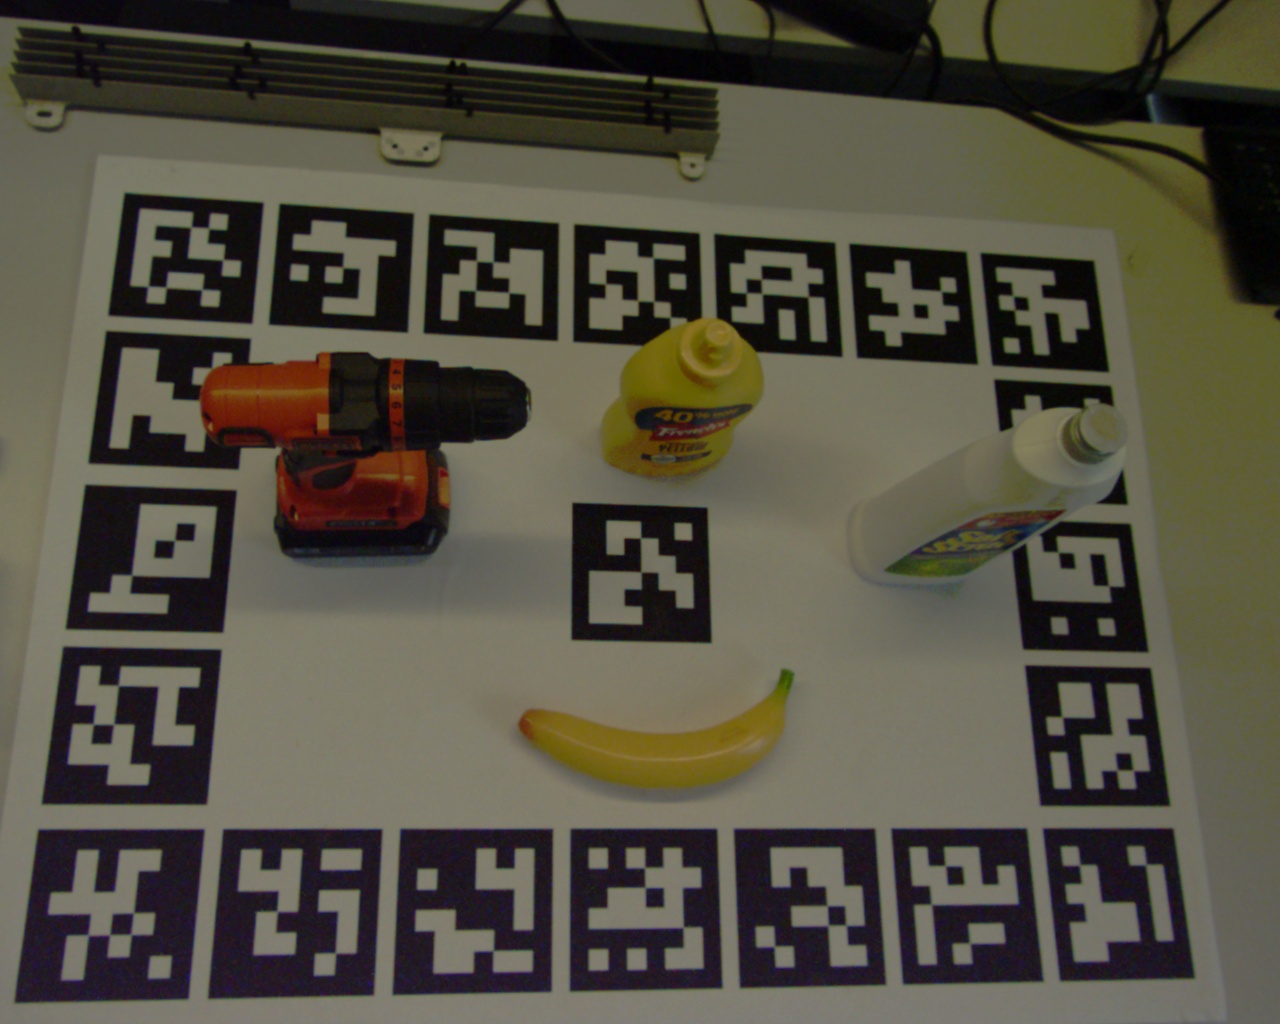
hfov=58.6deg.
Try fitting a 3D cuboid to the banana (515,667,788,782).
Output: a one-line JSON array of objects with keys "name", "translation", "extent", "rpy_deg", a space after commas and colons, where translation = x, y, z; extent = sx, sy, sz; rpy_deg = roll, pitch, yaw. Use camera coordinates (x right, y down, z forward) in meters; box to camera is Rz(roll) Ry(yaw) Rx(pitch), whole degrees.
[{"name": "banana", "translation": [0.012, 0.153, 0.805], "extent": [0.197, 0.039, 0.074], "rpy_deg": [-3, 77, -7]}]

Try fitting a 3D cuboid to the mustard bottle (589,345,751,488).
[{"name": "mustard bottle", "translation": [0.025, -0.070, 0.800], "extent": [0.095, 0.192, 0.058], "rpy_deg": [-5, 76, -13]}]

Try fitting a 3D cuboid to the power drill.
[{"name": "power drill", "translation": [-0.155, -0.040, 0.732], "extent": [0.184, 0.187, 0.057], "rpy_deg": [-4, 76, -6]}]

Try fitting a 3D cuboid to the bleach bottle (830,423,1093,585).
[{"name": "bleach bottle", "translation": [0.219, -0.008, 0.779], "extent": [0.102, 0.251, 0.068], "rpy_deg": [10, 74, -7]}]
